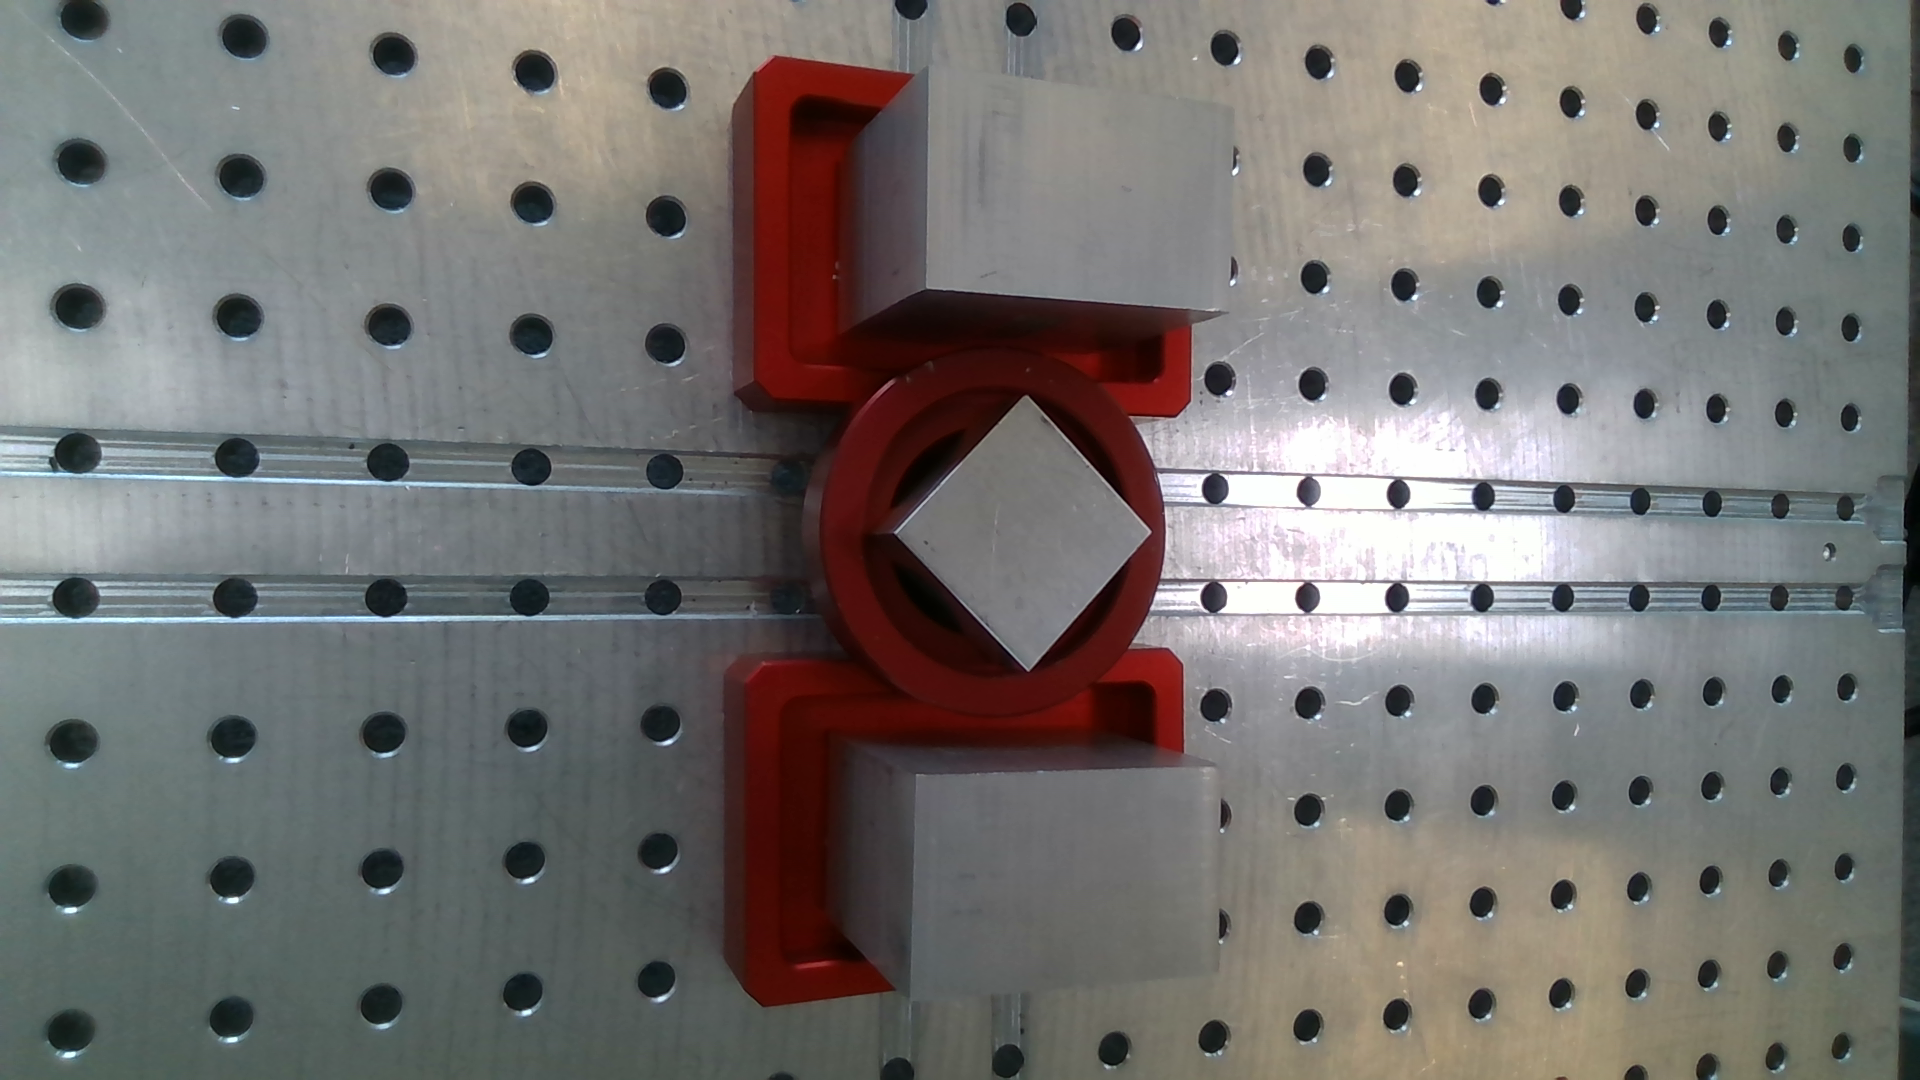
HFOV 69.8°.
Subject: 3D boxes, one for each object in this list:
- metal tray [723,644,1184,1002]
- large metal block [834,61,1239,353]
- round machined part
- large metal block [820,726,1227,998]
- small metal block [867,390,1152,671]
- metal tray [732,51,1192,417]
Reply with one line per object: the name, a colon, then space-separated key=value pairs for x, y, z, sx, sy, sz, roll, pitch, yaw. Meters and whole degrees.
metal tray: x=0.000 y=0.076 z=0.393 sx=0.130 sy=0.030 sz=0.090 roll=0 pitch=90 yaw=-20
large metal block: x=0.017 y=-0.081 z=0.359 sx=0.080 sy=0.080 sz=0.050 roll=1 pitch=90 yaw=-20
round machined part: x=0.003 y=-0.003 z=0.379 sx=0.098 sy=0.042 sz=0.098 roll=0 pitch=90 yaw=-20
large metal block: x=0.013 y=0.078 z=0.358 sx=0.080 sy=0.080 sz=0.050 roll=1 pitch=89 yaw=-20
small metal block: x=0.012 y=-0.002 z=0.358 sx=0.050 sy=0.025 sz=0.050 roll=46 pitch=76 yaw=-14
metal tray: x=0.002 y=-0.082 z=0.394 sx=0.130 sy=0.030 sz=0.090 roll=1 pitch=90 yaw=-20
